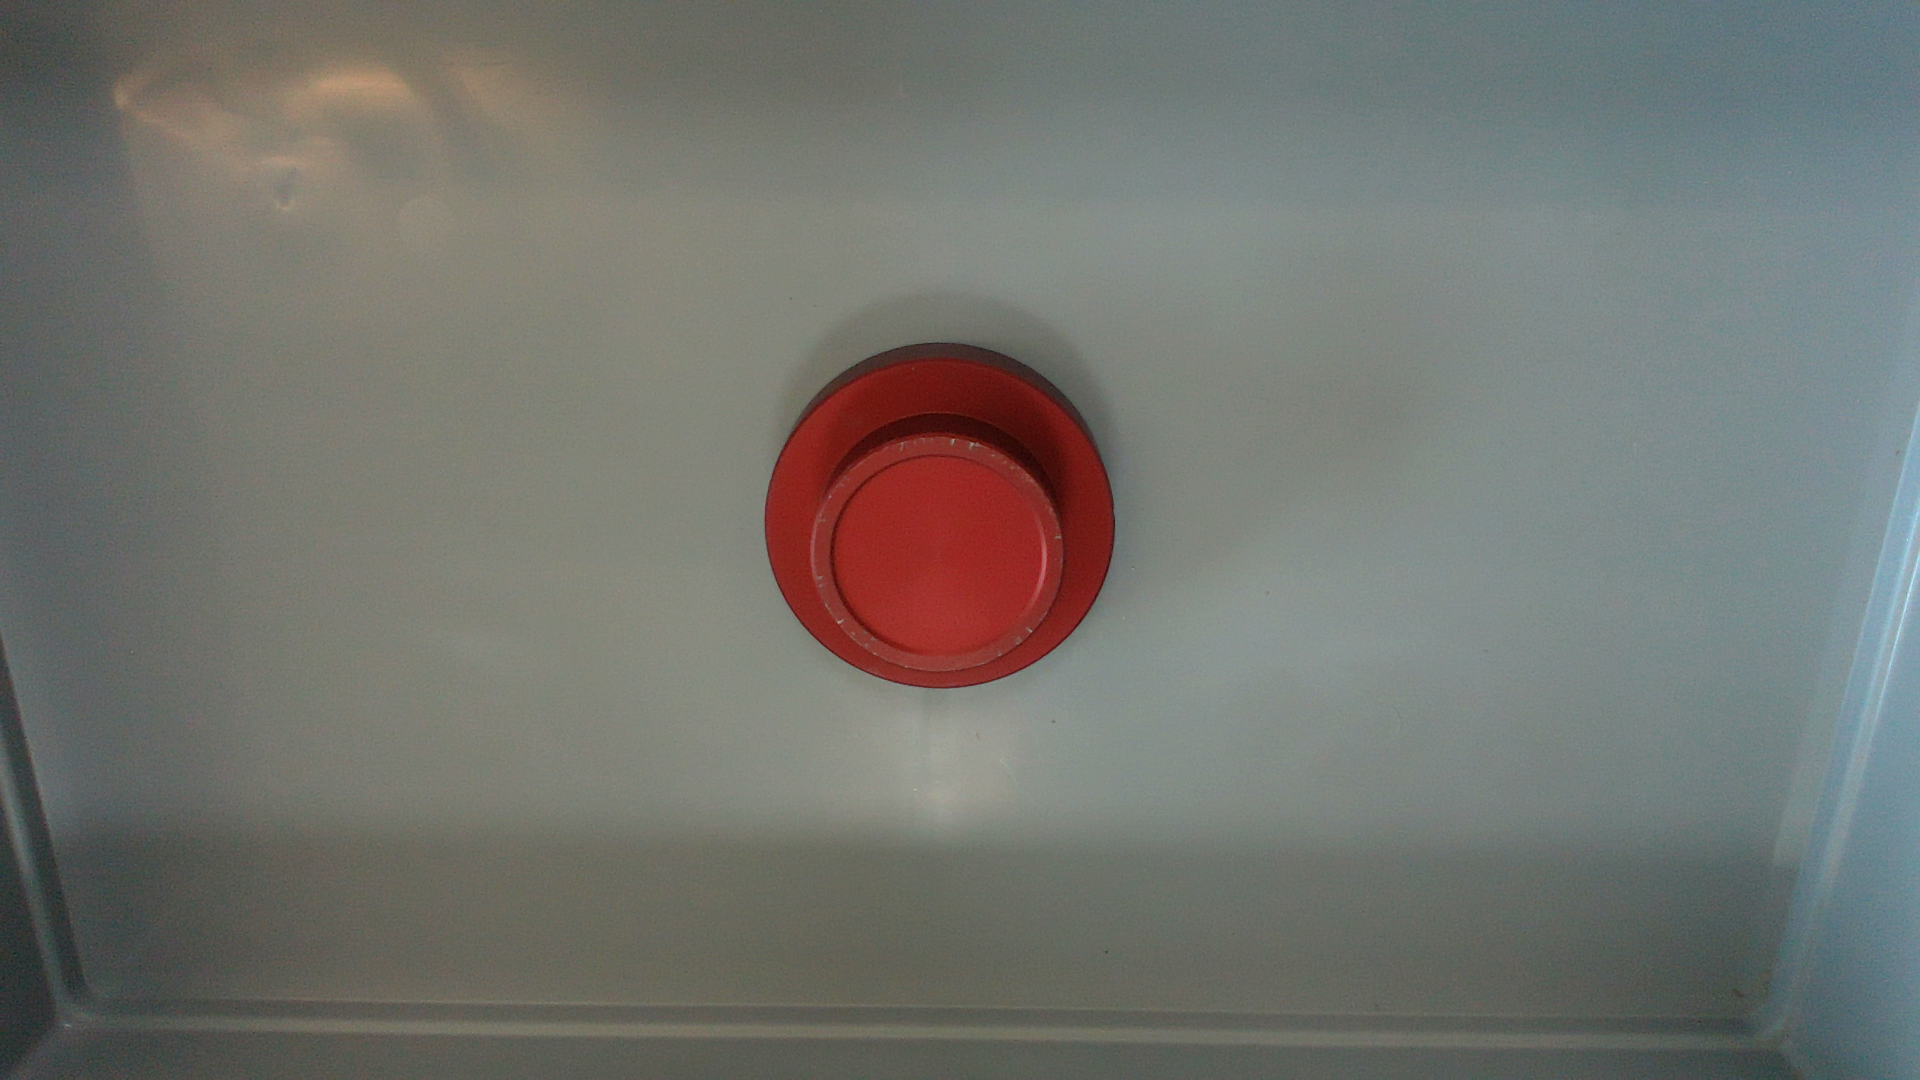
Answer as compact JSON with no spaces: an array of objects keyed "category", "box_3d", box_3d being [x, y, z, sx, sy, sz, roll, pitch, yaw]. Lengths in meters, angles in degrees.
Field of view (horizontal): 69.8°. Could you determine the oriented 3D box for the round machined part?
[{"category":"round machined part","box_3d":[-0.006,-0.002,0.381,0.098,0.042,0.098,0,110,0]}]
